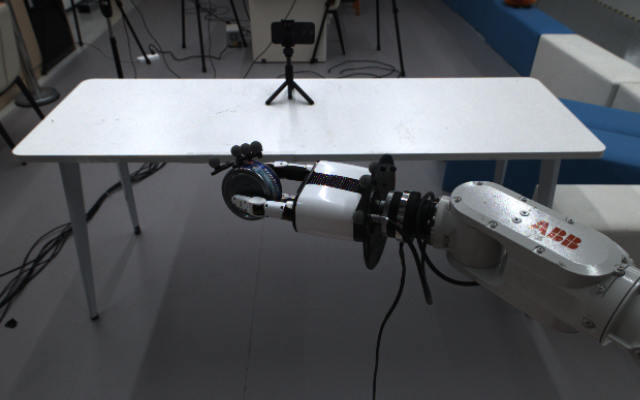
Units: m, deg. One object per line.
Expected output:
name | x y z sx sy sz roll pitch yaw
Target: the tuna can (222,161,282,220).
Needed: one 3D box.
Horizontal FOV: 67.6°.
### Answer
tuna can | -0.098 -0.008 0.710 0.085 0.085 0.034 15 29 17
